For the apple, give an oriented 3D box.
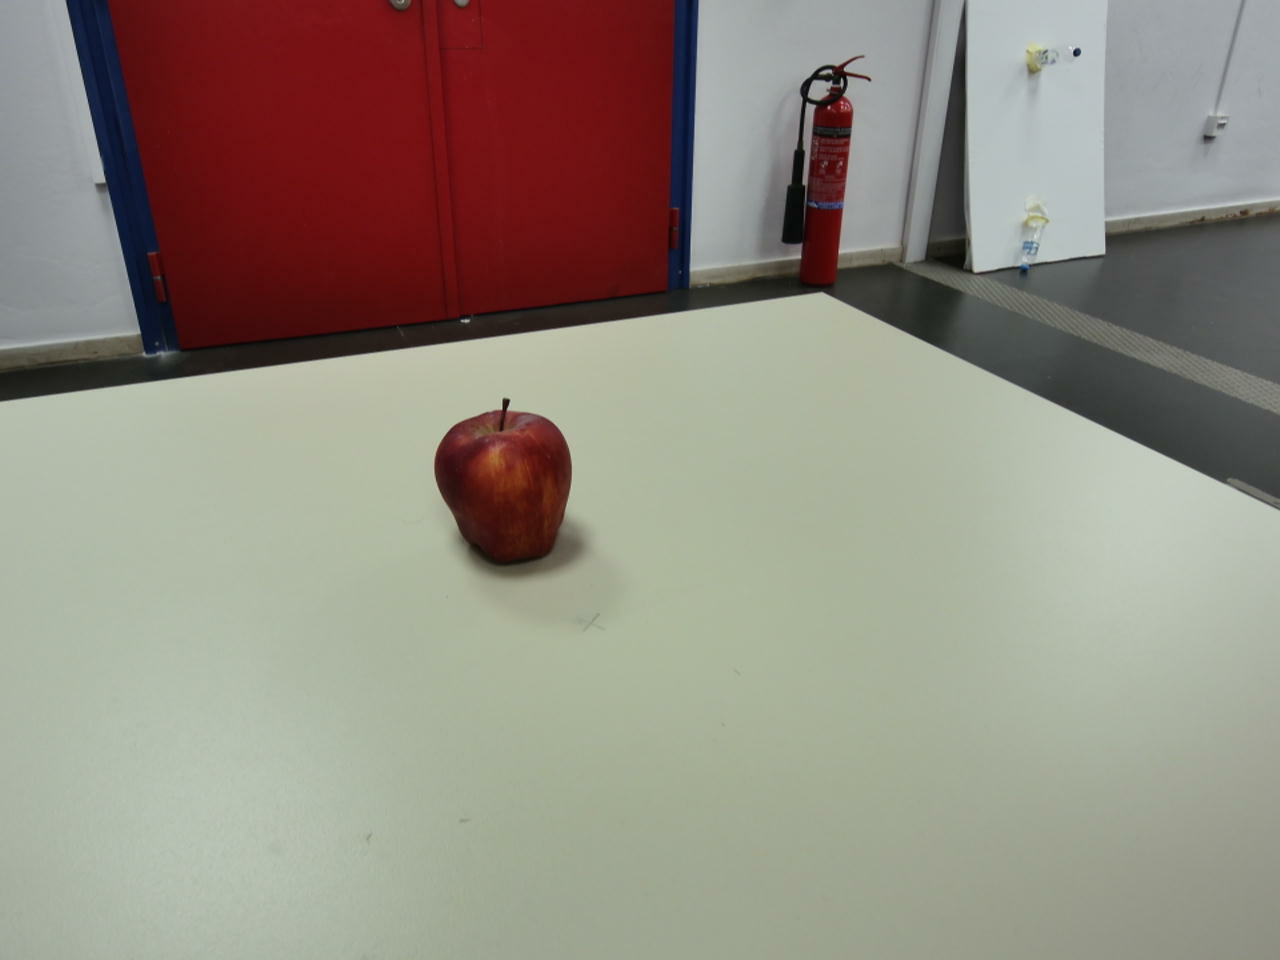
[{"bbox_3d":[-0.077,-0.003,0.568,0.083,0.090,0.083,0,26,0],"label":"apple"}]
